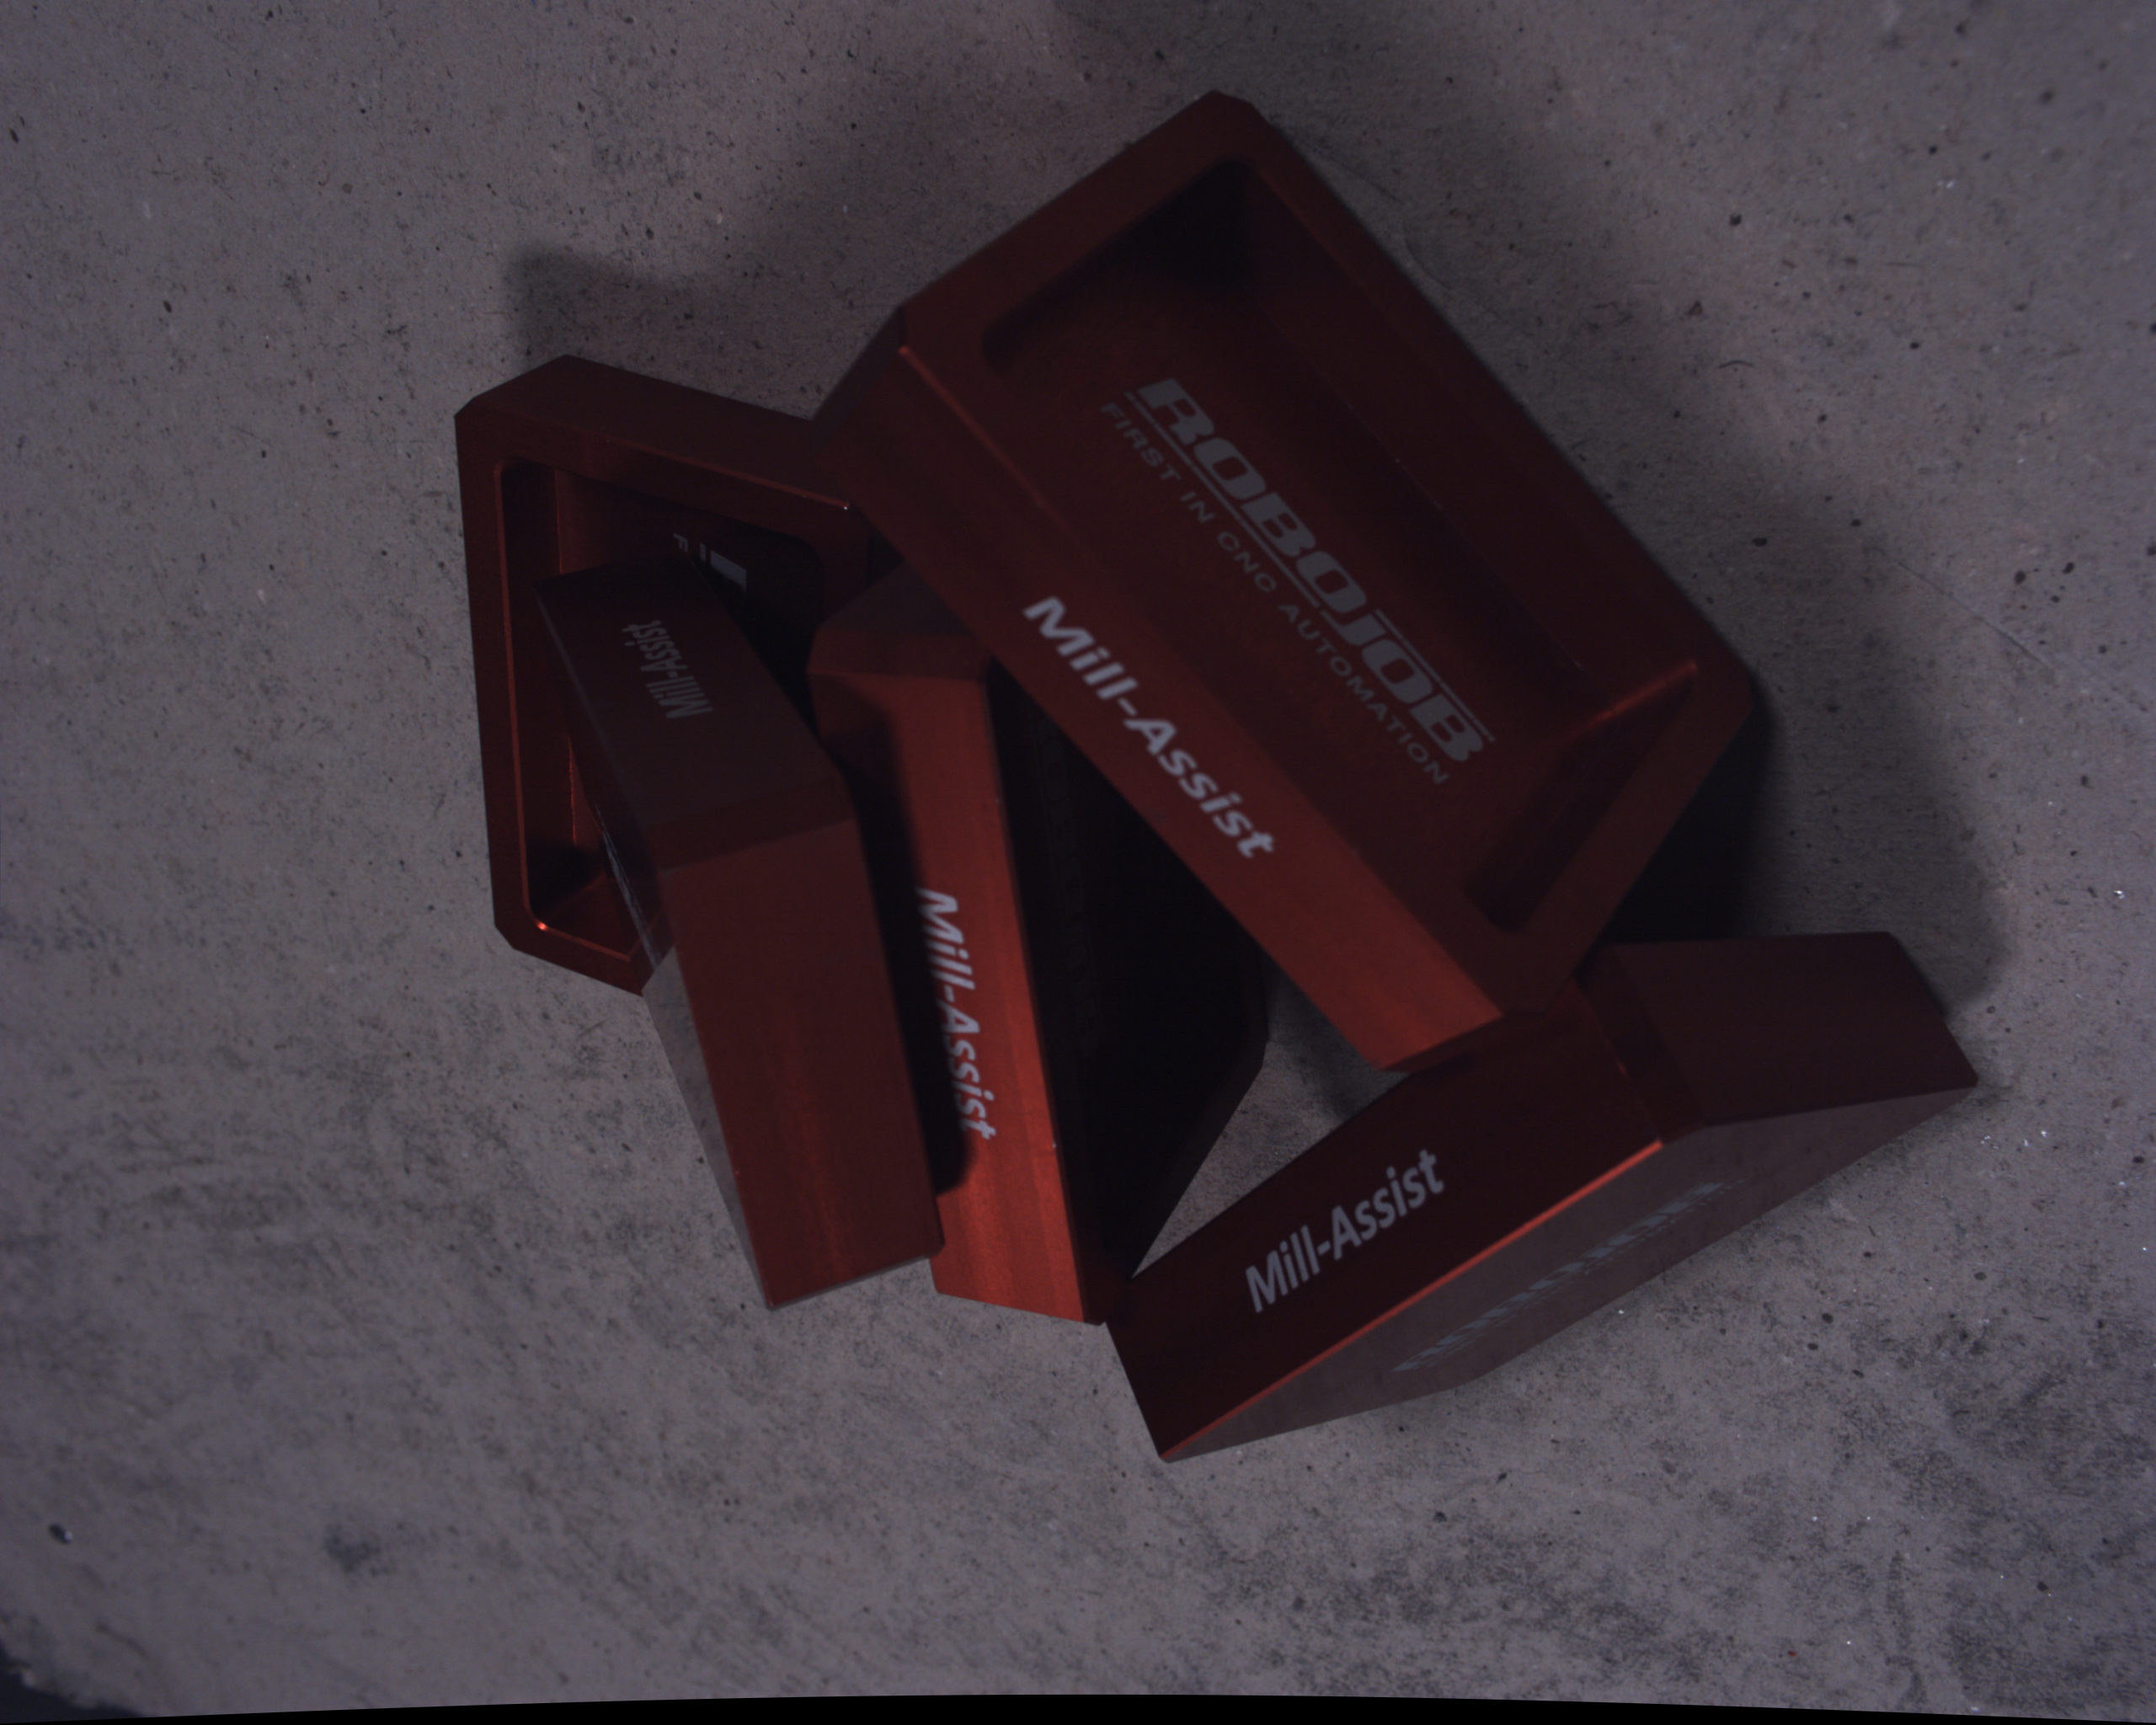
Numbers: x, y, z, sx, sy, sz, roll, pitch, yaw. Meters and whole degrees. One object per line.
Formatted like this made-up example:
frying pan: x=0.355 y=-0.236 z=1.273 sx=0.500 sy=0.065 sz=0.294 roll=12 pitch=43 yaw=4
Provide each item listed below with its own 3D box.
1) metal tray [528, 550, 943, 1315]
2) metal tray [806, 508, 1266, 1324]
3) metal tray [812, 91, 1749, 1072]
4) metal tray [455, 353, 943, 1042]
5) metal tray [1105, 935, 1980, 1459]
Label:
metal tray: x=-0.064 y=0.007 z=0.371 sx=0.130 sy=0.030 sz=0.089 roll=-131 pitch=29 yaw=-57
metal tray: x=-0.001 y=0.003 z=0.368 sx=0.030 sy=0.090 sz=0.129 roll=6 pitch=122 yaw=25
metal tray: x=0.035 y=-0.044 z=0.317 sx=0.130 sy=0.090 sz=0.030 roll=47 pitch=143 yaw=-6
metal tray: x=-0.077 y=-0.029 z=0.426 sx=0.090 sy=0.030 sz=0.129 roll=18 pitch=126 yaw=17
metal tray: x=0.076 y=0.059 z=0.362 sx=0.129 sy=0.091 sz=0.030 roll=-44 pitch=58 yaw=39
